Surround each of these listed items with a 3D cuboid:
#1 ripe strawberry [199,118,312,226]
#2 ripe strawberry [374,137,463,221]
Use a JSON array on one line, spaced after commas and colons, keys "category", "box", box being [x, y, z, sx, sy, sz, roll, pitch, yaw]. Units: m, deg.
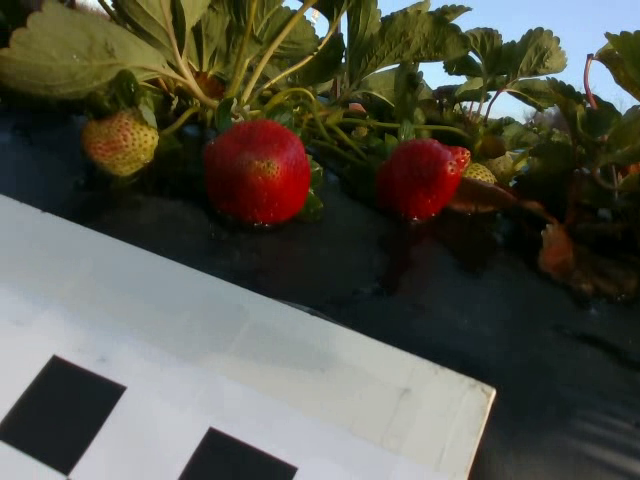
[{"category": "ripe strawberry", "box": [-0.026, -0.032, 0.249, 0.050, 0.050, 0.065, -15, 0, -5]}, {"category": "ripe strawberry", "box": [0.048, -0.029, 0.291, 0.044, 0.042, 0.055, -35, 9, -18]}]
